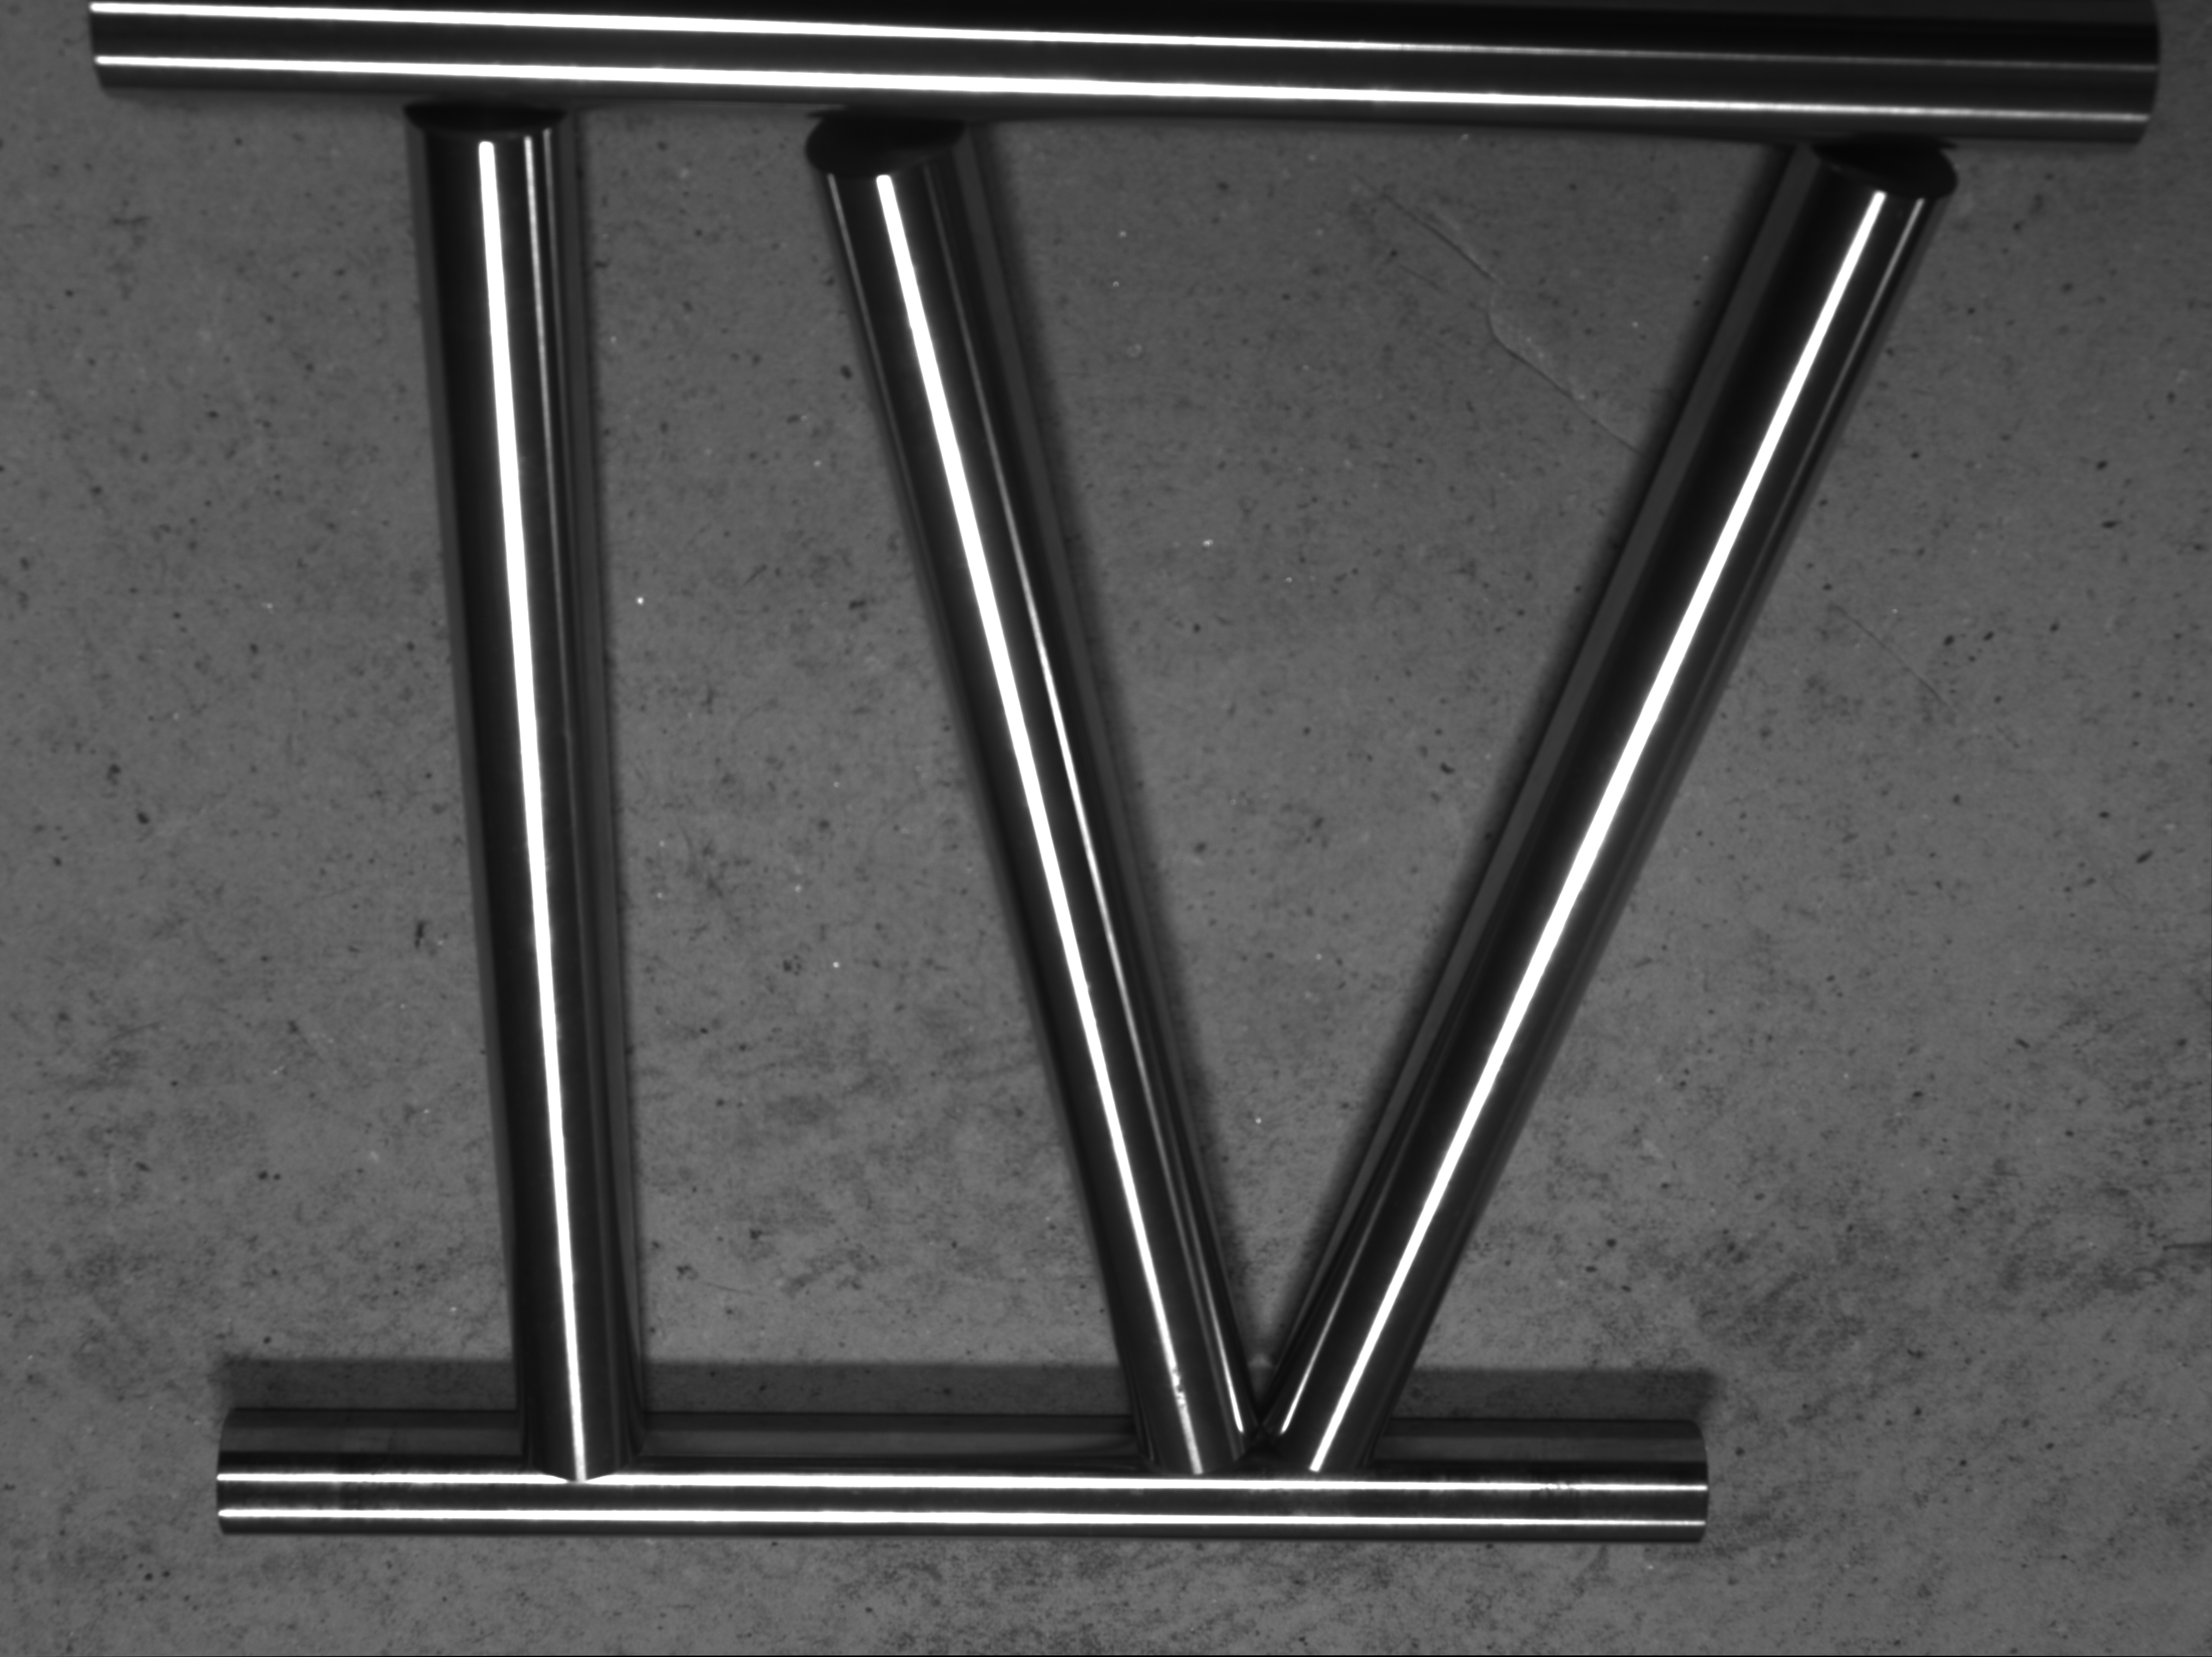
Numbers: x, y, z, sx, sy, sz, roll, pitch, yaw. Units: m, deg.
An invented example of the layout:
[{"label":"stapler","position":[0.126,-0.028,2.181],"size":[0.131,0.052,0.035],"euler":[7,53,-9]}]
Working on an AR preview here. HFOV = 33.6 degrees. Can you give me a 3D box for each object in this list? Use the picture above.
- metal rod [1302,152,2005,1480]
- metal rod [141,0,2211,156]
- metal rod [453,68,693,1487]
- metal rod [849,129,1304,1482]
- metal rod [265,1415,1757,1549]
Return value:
[{"label":"metal rod","position":[0.088,0.010,0.648],"size":[0.025,0.025,0.300],"euler":[10,129,-10]},{"label":"metal rod","position":[0.012,-0.116,0.542],"size":[0.300,0.025,0.025],"euler":[1,130,-3]},{"label":"metal rod","position":[-0.090,0.007,0.641],"size":[0.025,0.025,0.300],"euler":[1,130,-2]},{"label":"metal rod","position":[0.001,0.009,0.645],"size":[0.025,0.025,0.300],"euler":[-9,130,6]},{"label":"metal rod","position":[-0.018,0.134,0.749],"size":[0.300,0.025,0.025],"euler":[1,130,-3]}]
